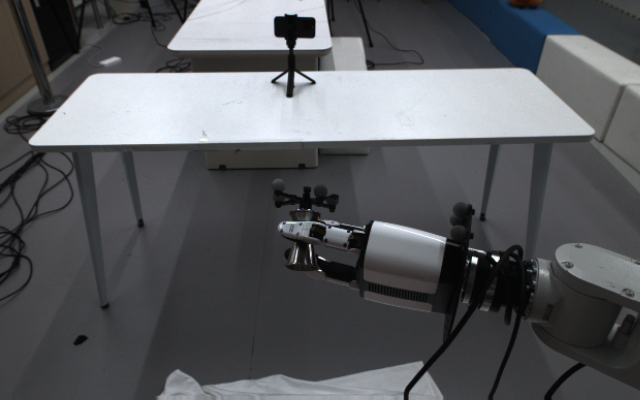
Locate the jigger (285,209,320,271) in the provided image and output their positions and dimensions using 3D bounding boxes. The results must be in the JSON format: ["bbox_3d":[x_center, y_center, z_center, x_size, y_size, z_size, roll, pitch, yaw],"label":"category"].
[{"bbox_3d":[-0.021,0.048,0.587,0.043,0.043,0.071,3,72,1],"label":"jigger"}]
